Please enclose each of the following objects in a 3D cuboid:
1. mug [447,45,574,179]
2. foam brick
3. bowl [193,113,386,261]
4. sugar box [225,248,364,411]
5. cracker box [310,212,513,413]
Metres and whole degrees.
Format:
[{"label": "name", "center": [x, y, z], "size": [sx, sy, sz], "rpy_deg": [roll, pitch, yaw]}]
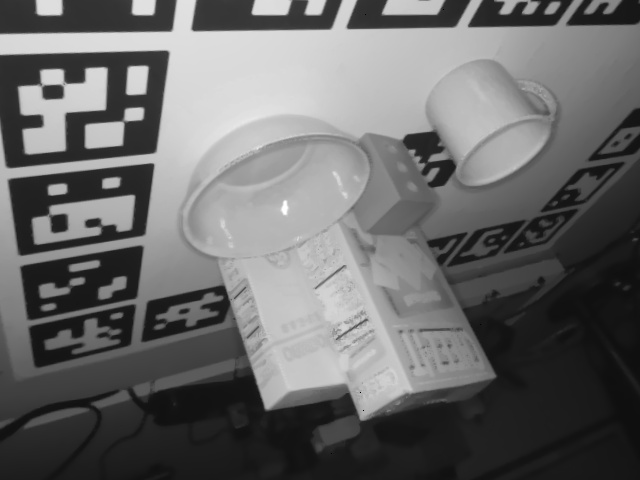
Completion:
[{"label": "mug", "center": [0.172, -0.115, 0.602], "size": [0.118, 0.081, 0.092], "rpy_deg": [-17, 158, -18]}, {"label": "foam brick", "center": [0.071, -0.056, 0.642], "size": [0.053, 0.078, 0.050], "rpy_deg": [0, 143, -38]}, {"label": "bowl", "center": [-0.030, -0.051, 0.563], "size": [0.163, 0.055, 0.160], "rpy_deg": [-19, 149, -11]}, {"label": "sugar box", "center": [-0.023, 0.069, 0.661], "size": [0.094, 0.176, 0.044], "rpy_deg": [5, 140, -42]}, {"label": "cracker box", "center": [0.087, 0.058, 0.690], "size": [0.071, 0.214, 0.166], "rpy_deg": [-40, 147, 29]}]
